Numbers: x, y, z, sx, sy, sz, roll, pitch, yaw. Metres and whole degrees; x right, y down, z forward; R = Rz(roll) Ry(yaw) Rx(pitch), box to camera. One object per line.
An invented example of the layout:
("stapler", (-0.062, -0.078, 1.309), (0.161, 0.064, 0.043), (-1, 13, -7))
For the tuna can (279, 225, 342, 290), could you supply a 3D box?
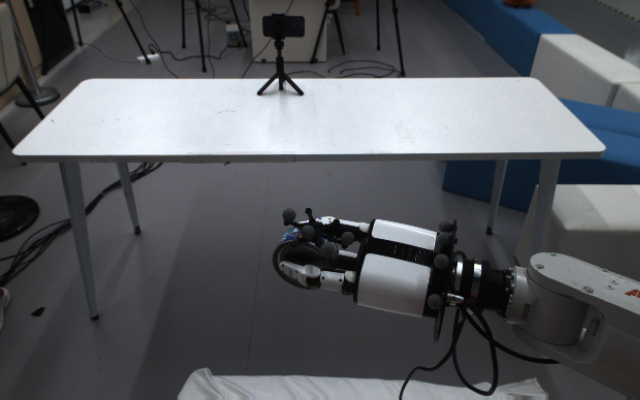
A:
("tuna can", (-0.016, 0.078, 0.650), (0.085, 0.085, 0.034), (9, 35, 10))
